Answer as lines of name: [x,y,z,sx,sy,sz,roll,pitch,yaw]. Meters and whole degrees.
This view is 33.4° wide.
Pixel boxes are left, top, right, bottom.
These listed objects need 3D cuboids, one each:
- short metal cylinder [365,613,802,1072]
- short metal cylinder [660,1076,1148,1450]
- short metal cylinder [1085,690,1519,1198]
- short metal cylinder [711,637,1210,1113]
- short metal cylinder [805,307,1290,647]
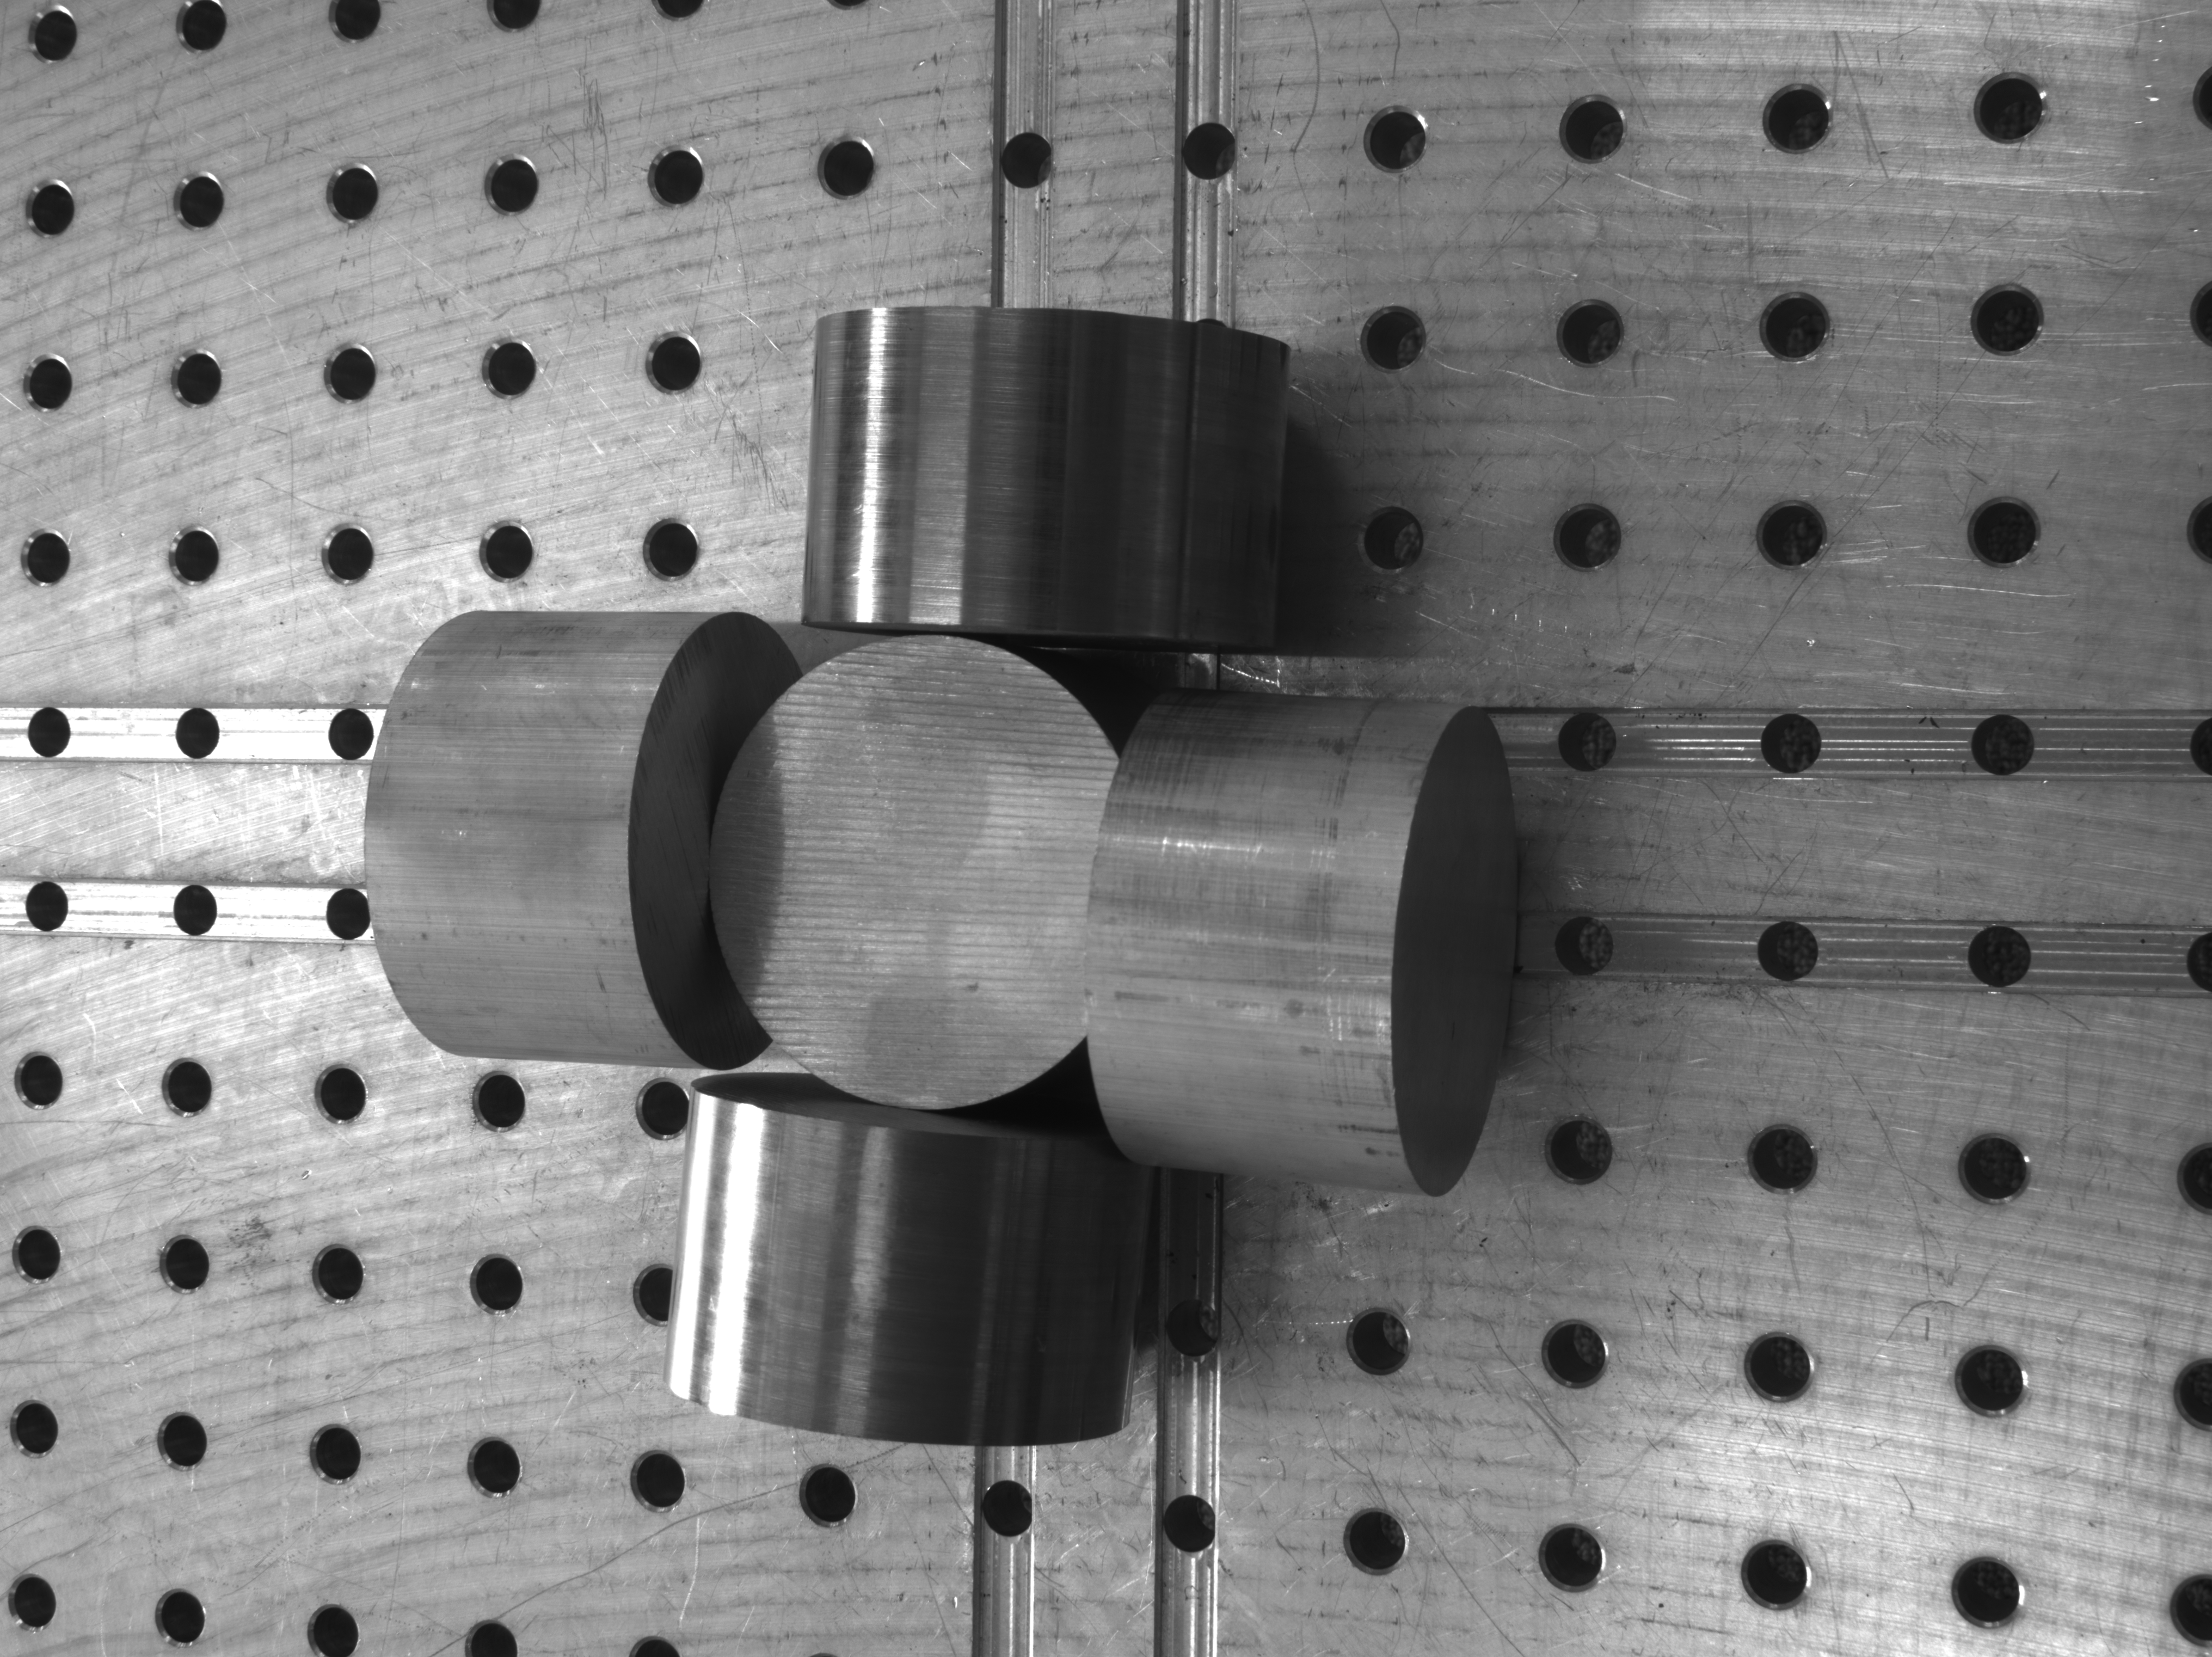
short metal cylinder: [-0.088,0.002,0.652,0.050,0.080,0.080,2,90,19]
short metal cylinder: [-0.034,0.073,0.631,0.080,0.080,0.050,7,92,20]
short metal cylinder: [0.034,0.019,0.608,0.050,0.080,0.080,4,91,20]
short metal cylinder: [-0.022,0.008,0.644,0.080,0.050,0.080,0,90,19]
short metal cylinder: [-0.010,-0.057,0.623,0.080,0.080,0.050,3,91,20]
